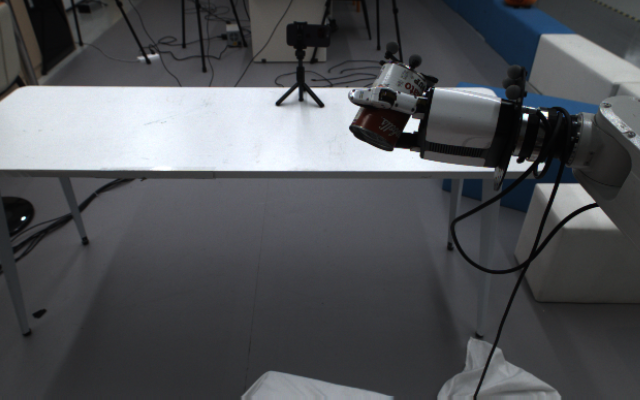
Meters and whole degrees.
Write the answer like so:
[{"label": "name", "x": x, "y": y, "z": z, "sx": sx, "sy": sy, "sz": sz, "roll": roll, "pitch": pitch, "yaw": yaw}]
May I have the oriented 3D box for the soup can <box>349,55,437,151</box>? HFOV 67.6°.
[{"label": "soup can", "x": 0.093, "y": -0.126, "z": 0.654, "sx": 0.067, "sy": 0.101, "sz": 0.067, "roll": 29, "pitch": -2, "yaw": 1}]
